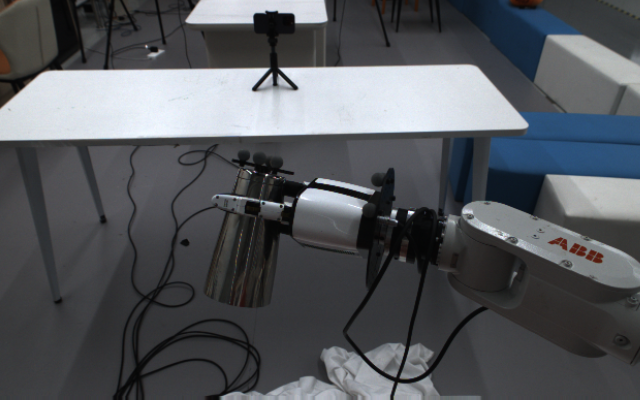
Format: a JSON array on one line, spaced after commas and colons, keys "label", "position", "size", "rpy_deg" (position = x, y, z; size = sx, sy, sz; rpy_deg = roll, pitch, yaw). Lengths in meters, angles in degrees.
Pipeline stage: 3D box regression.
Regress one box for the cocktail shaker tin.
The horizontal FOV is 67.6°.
[{"label": "cocktail shaker tin", "position": [-0.093, 0.045, 0.652], "size": [0.093, 0.170, 0.093], "rpy_deg": [12, 3, -1]}]
